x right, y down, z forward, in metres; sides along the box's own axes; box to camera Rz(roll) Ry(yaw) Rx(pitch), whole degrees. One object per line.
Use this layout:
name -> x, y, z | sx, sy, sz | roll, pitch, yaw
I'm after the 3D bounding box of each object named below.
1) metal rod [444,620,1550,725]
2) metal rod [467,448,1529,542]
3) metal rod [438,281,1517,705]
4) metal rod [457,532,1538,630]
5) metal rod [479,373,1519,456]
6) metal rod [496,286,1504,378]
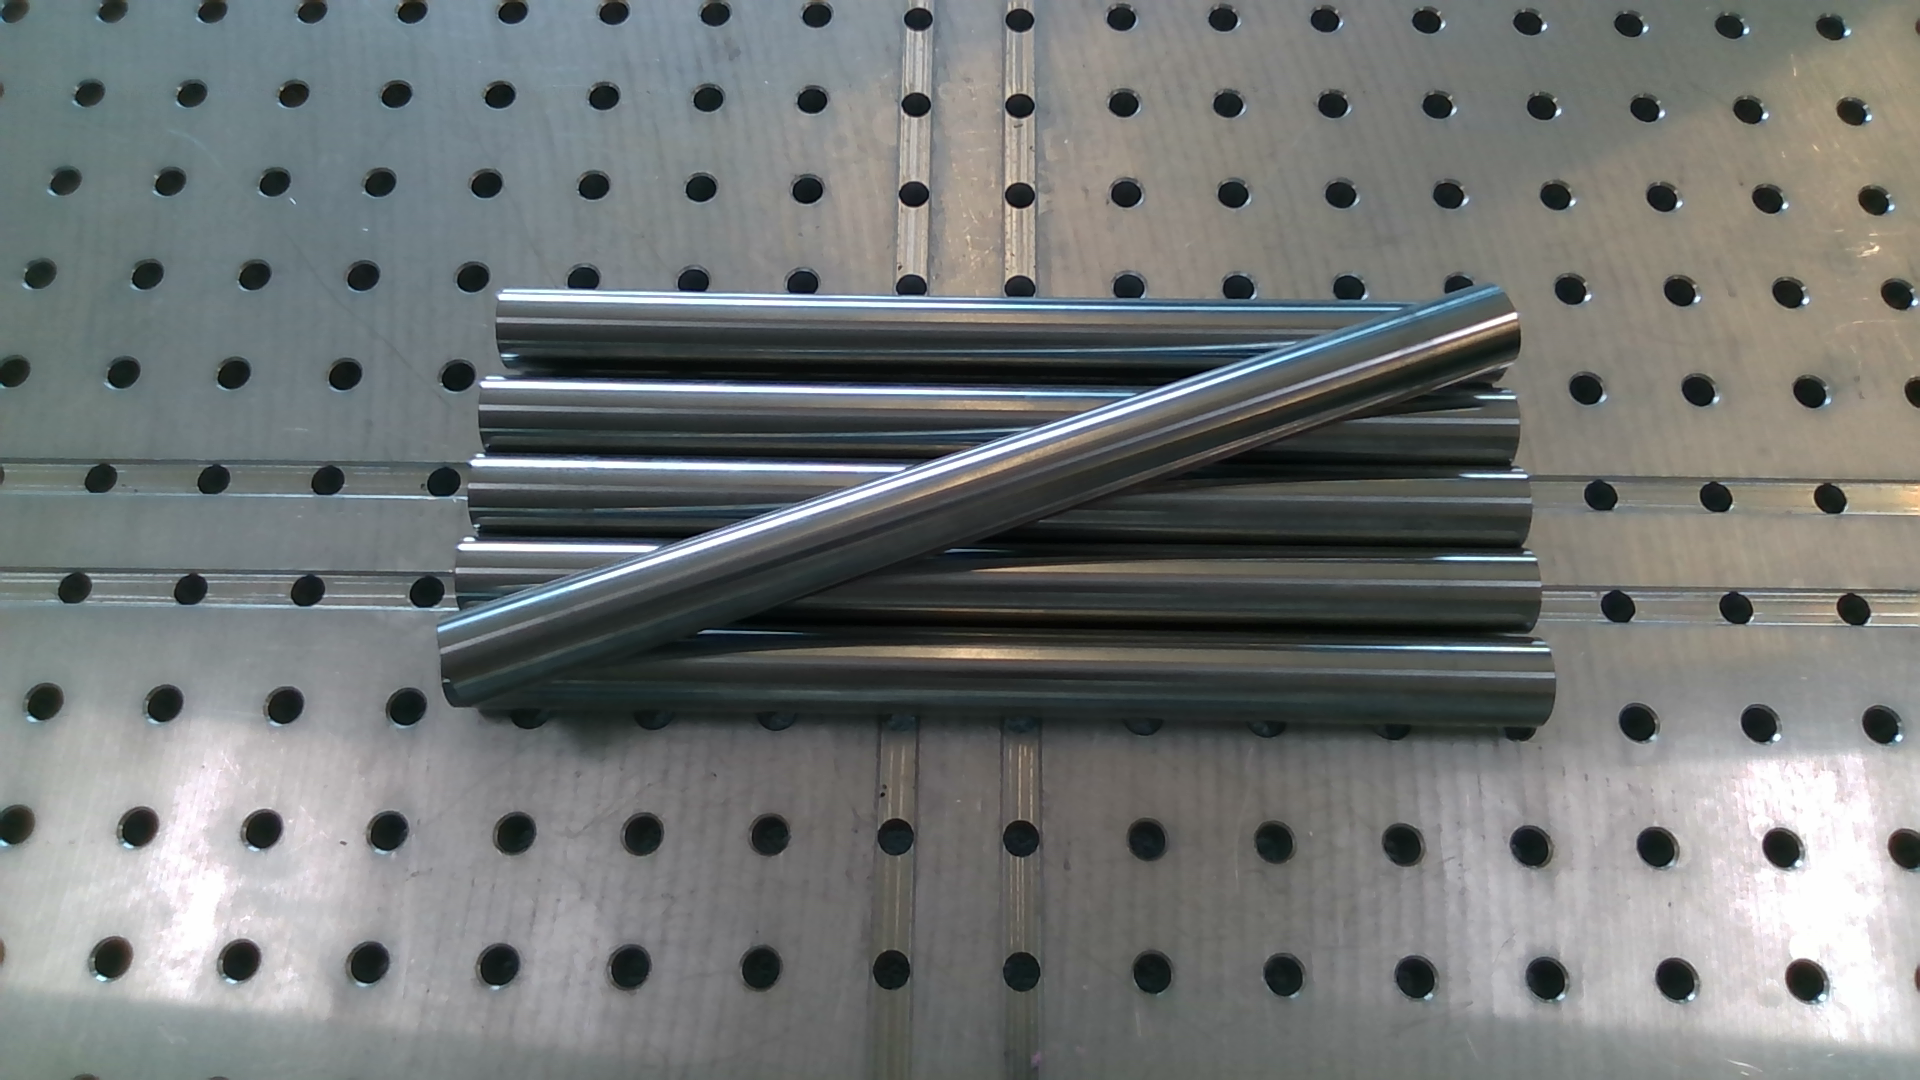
metal rod -> 0.010, 0.036, 0.386 | 0.300, 0.025, 0.025 | 1, 70, 0
metal rod -> 0.010, -0.013, 0.401 | 0.300, 0.025, 0.025 | 1, 70, 0
metal rod -> 0.010, -0.015, 0.377 | 0.300, 0.025, 0.025 | -18, 71, -6
metal rod -> 0.010, 0.012, 0.394 | 0.300, 0.025, 0.025 | 1, 70, 0
metal rod -> 0.011, -0.035, 0.410 | 0.300, 0.025, 0.025 | 1, 70, 0
metal rod -> 0.013, -0.063, 0.419 | 0.300, 0.025, 0.025 | 1, 70, 0
